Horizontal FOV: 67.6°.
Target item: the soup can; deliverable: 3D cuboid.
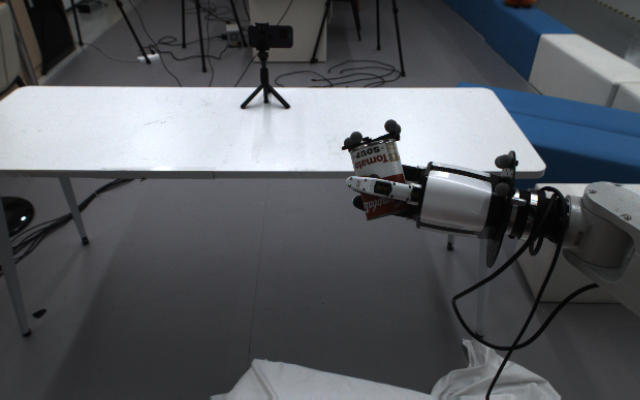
[{"bbox_3d":[0.088,-0.028,0.682,0.067,0.101,0.067,-14,-2,-1],"label":"soup can"}]
